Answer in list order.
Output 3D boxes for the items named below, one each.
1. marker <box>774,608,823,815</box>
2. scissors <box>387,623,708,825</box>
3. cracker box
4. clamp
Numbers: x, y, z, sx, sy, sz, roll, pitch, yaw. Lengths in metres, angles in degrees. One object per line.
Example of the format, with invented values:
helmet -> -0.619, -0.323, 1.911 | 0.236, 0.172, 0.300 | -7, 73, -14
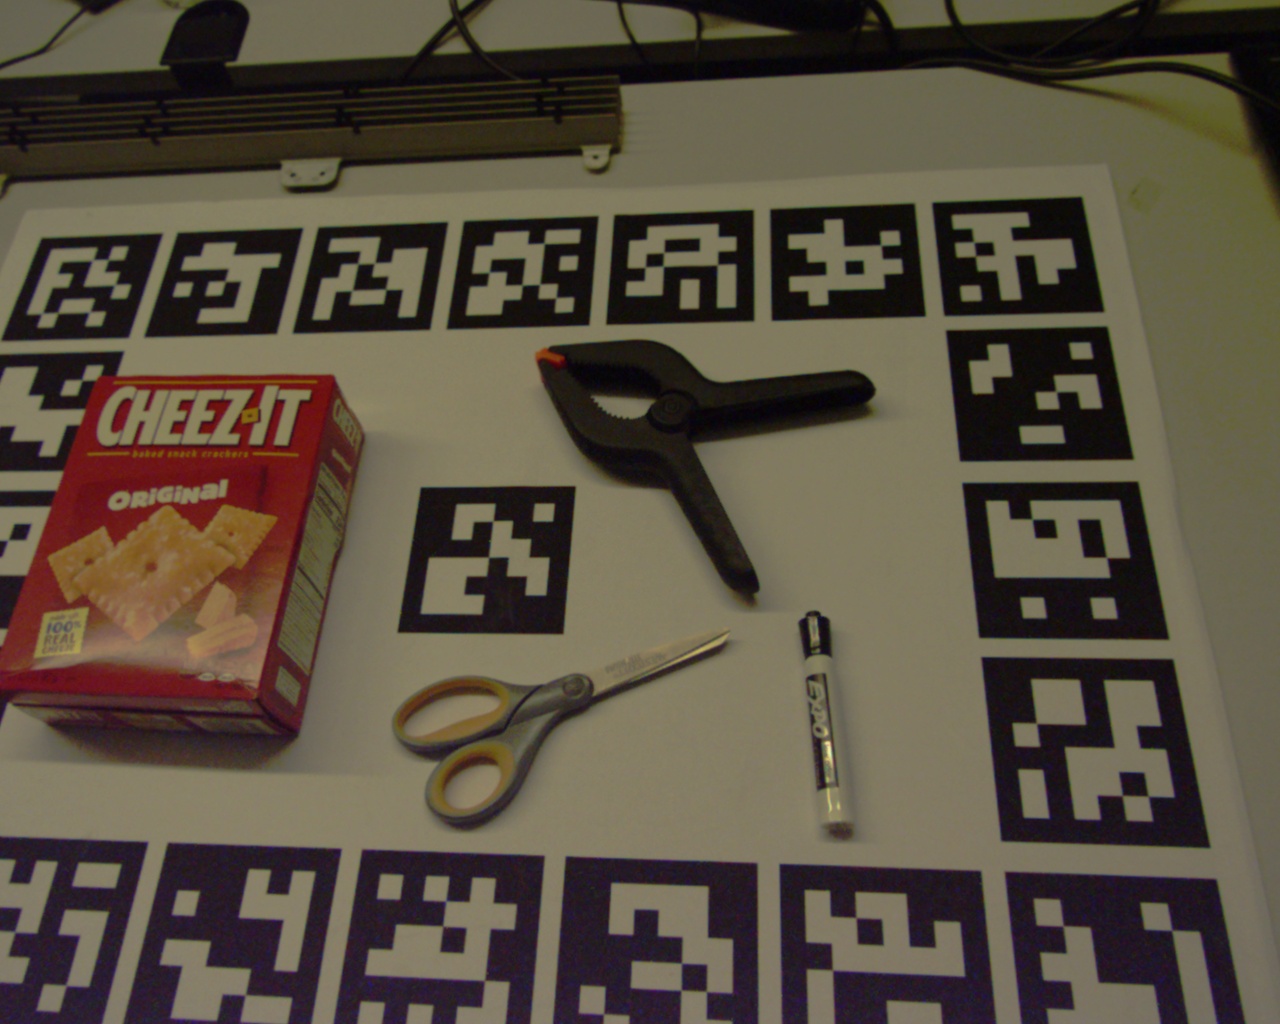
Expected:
marker -> 0.090, 0.111, 0.652 | 0.020, 0.019, 0.121 | -4, 59, 5
scissors -> -0.052, 0.108, 0.674 | 0.202, 0.016, 0.088 | -25, 59, -9
cracker box -> -0.281, 0.026, 0.724 | 0.165, 0.071, 0.214 | 1, 60, 8
clamp -> 0.008, -0.053, 0.765 | 0.205, 0.036, 0.165 | 28, 66, 20
